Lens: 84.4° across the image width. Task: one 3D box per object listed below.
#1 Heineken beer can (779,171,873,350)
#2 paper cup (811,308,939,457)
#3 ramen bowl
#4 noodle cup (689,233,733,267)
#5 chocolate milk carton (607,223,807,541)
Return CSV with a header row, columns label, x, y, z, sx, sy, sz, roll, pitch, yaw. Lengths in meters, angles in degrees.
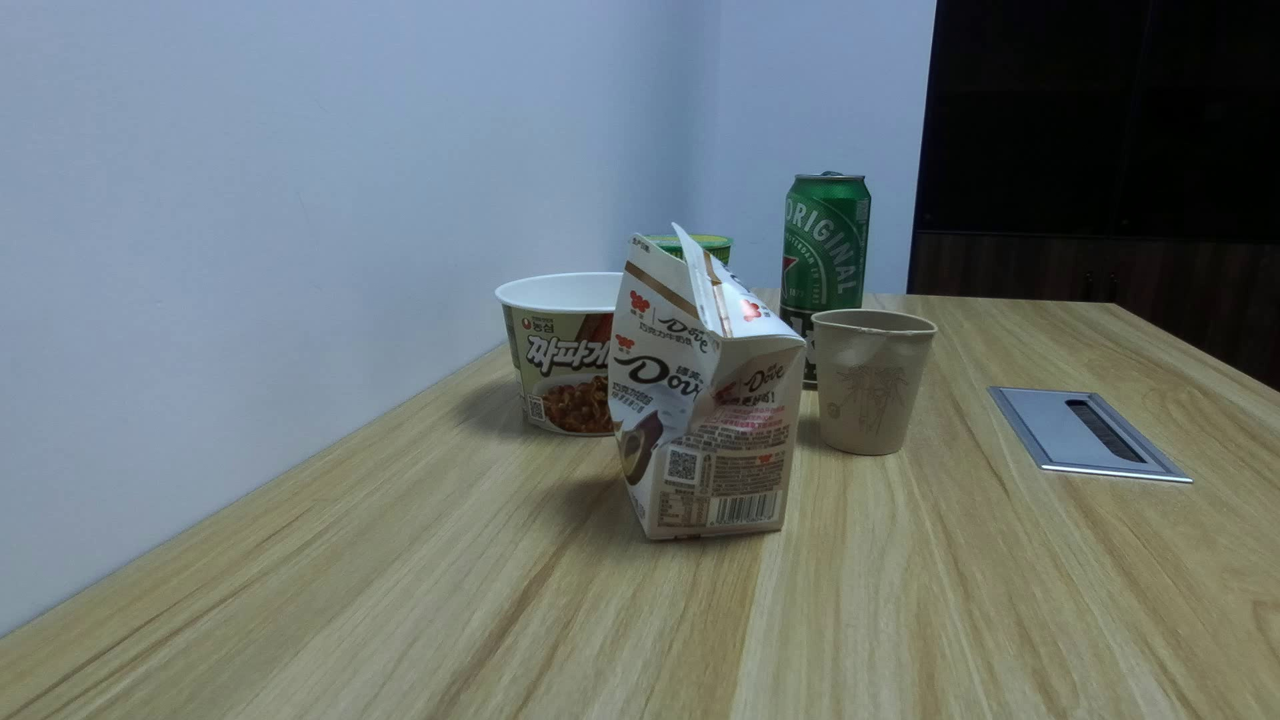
label,x,y,z,sx,sy,sz,roll,pitch,yaw
Heineken beer can,0.151,-0.064,0.581,0.067,0.169,0.067,0,15,0
paper cup,0.149,0.013,0.465,0.074,0.081,0.068,-4,16,-17
ramen bowl,-0.032,-0.007,0.518,0.140,0.095,0.140,1,17,0
noodle cup,0.039,-0.059,0.663,0.097,0.110,0.097,1,16,0
chocolate milk carton,0.029,0.014,0.357,0.077,0.155,0.089,-8,32,-12
